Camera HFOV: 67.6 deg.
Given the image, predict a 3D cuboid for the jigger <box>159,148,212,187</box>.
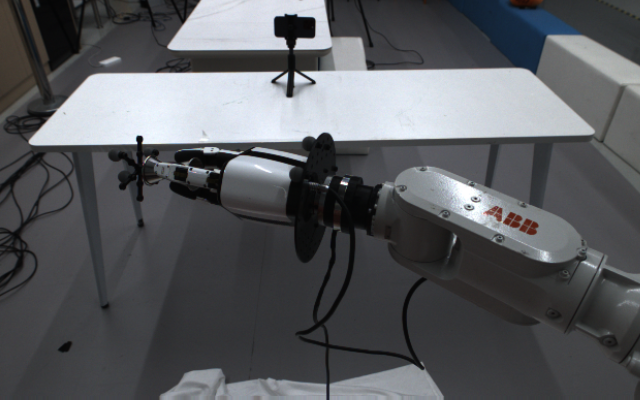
[{"bbox_3d":[-0.187,-0.041,0.643,0.071,0.043,0.043,5,34,15],"label":"jigger"}]
